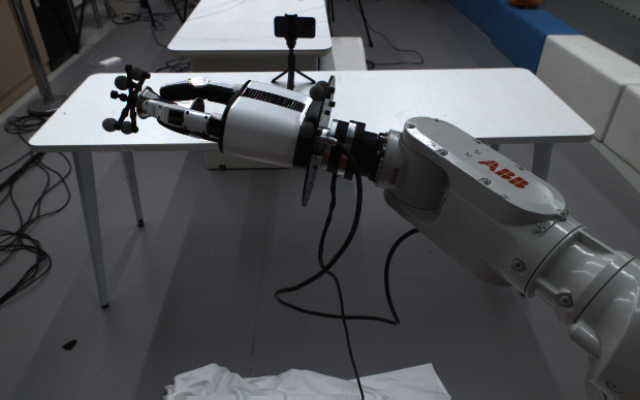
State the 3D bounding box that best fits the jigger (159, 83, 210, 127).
[{"bbox_3d":[-0.175,-0.112,0.588,0.071,0.043,0.043,13,36,5],"label":"jigger"}]
